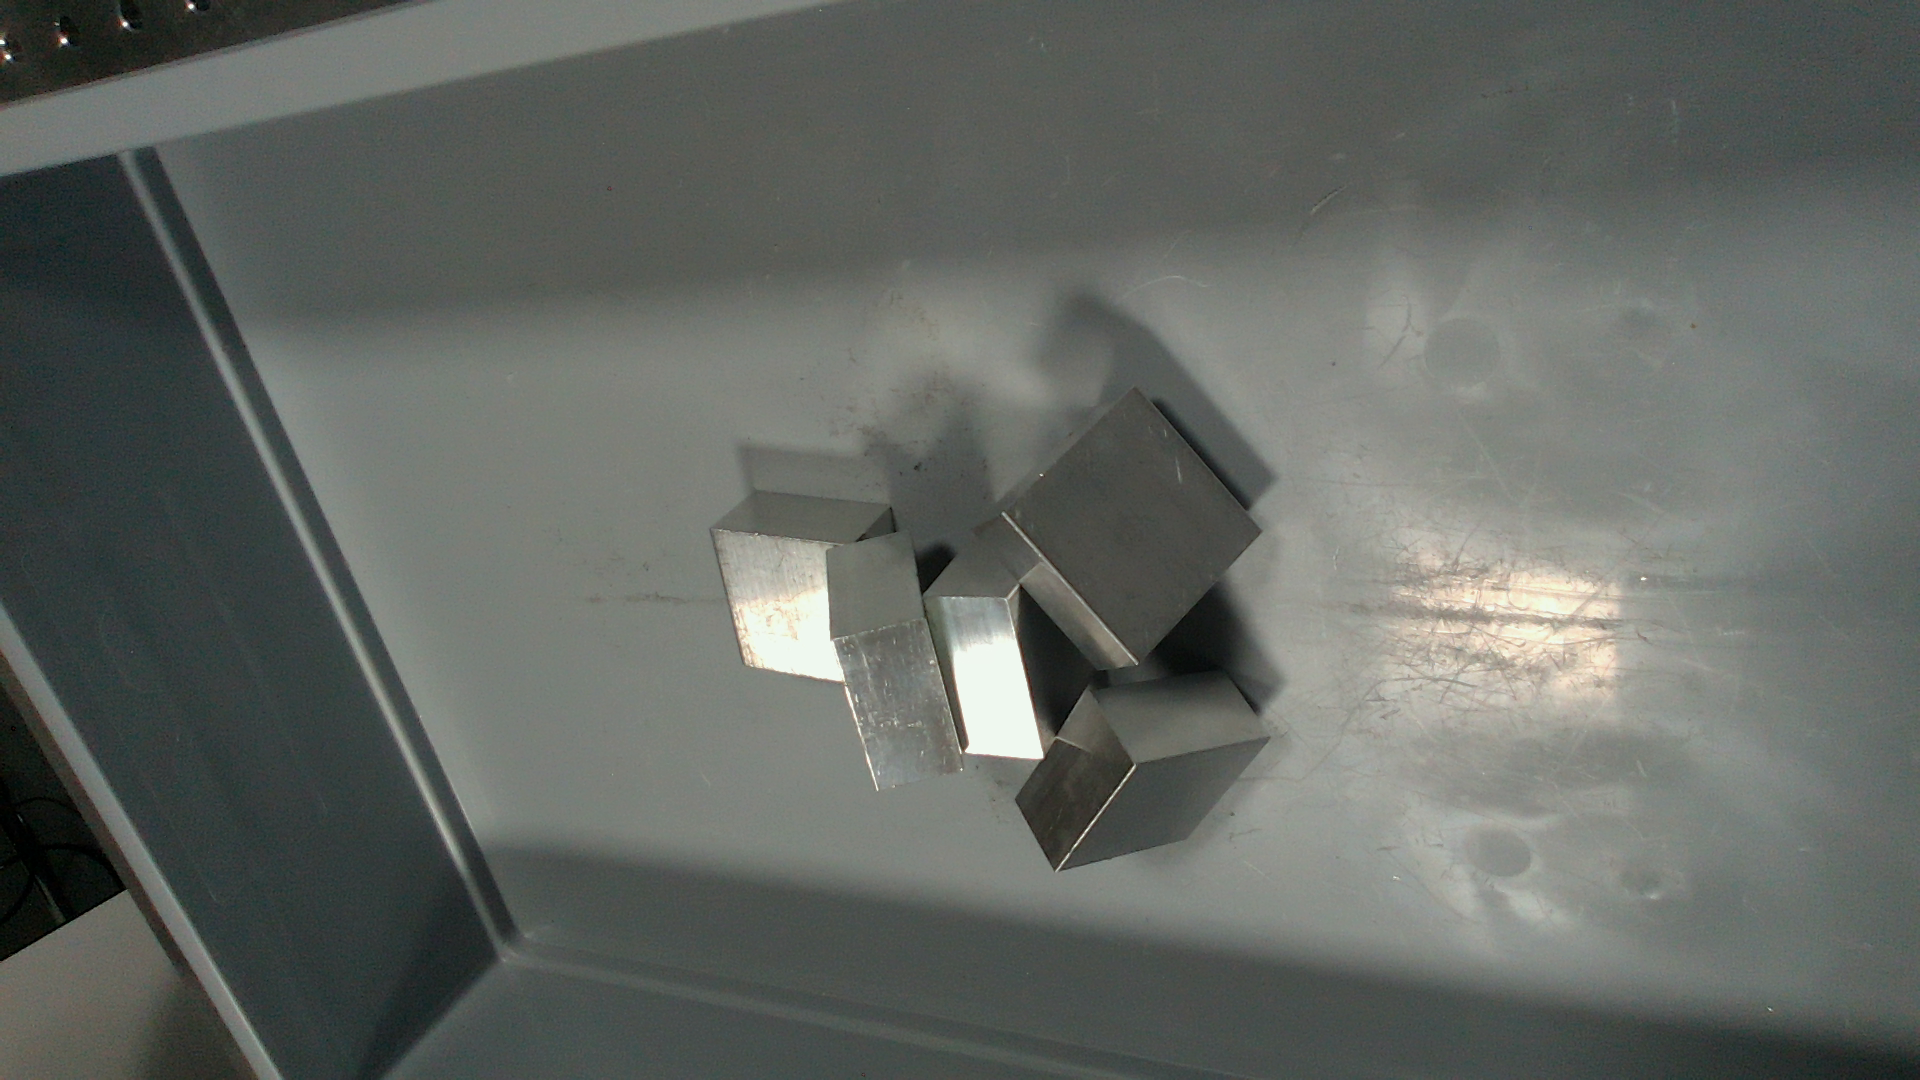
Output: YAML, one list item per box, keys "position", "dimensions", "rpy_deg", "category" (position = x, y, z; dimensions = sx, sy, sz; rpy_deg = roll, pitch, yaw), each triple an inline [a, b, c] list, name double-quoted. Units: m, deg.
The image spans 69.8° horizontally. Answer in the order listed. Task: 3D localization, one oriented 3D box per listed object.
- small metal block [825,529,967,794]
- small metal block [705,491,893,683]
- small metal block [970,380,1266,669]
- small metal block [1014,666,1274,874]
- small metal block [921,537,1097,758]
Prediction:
- position: [-0.018, 0.033, 0.382]
  dimensions: [0.025, 0.050, 0.050]
  rpy_deg: [-14, 118, 0]
  category: "small metal block"
- position: [-0.046, 0.015, 0.424]
  dimensions: [0.050, 0.025, 0.050]
  rpy_deg: [6, 121, 25]
  category: "small metal block"
- position: [0.040, -0.003, 0.348]
  dimensions: [0.050, 0.050, 0.025]
  rpy_deg: [48, 161, -6]
  category: "small metal block"
- position: [0.051, 0.064, 0.384]
  dimensions: [0.025, 0.050, 0.050]
  rpy_deg: [58, 137, 33]
  category: "small metal block"
- position: [0.017, 0.024, 0.382]
  dimensions: [0.025, 0.050, 0.050]
  rpy_deg: [1, 119, 28]
  category: "small metal block"
